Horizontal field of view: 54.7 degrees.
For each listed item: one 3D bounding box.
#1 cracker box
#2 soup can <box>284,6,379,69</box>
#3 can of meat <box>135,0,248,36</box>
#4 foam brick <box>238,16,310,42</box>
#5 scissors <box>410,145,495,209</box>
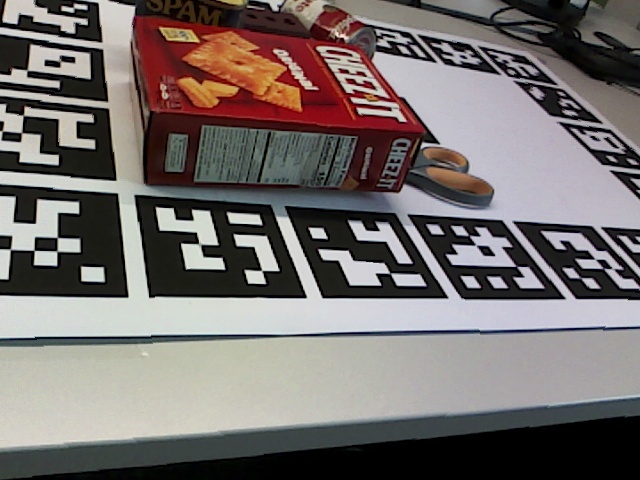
[{"bbox_3d":[-0.040,-0.109,0.524,0.212,0.072,0.165,-5,44,-25],"label":"cracker box"},{"bbox_3d":[0.008,-0.224,0.726,0.102,0.068,0.067,31,38,20],"label":"soup can"},{"bbox_3d":[-0.130,-0.201,0.602,0.101,0.084,0.058,12,39,-14],"label":"can of meat"},{"bbox_3d":[-0.058,-0.207,0.674,0.077,0.051,0.053,-7,47,-32],"label":"foam brick"},{"bbox_3d":[0.066,-0.059,0.565,0.201,0.016,0.088,-2,44,-28],"label":"scissors"}]
